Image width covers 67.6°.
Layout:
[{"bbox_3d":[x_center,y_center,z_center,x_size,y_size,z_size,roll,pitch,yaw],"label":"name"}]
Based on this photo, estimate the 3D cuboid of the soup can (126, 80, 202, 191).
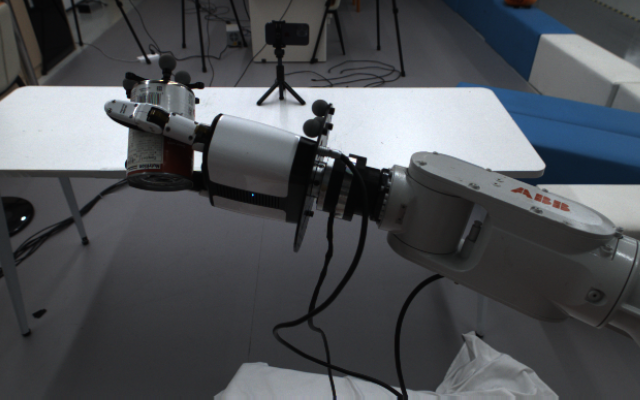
[{"bbox_3d":[-0.165,-0.065,0.510,0.067,0.067,0.101,-1,77,-5],"label":"soup can"}]
